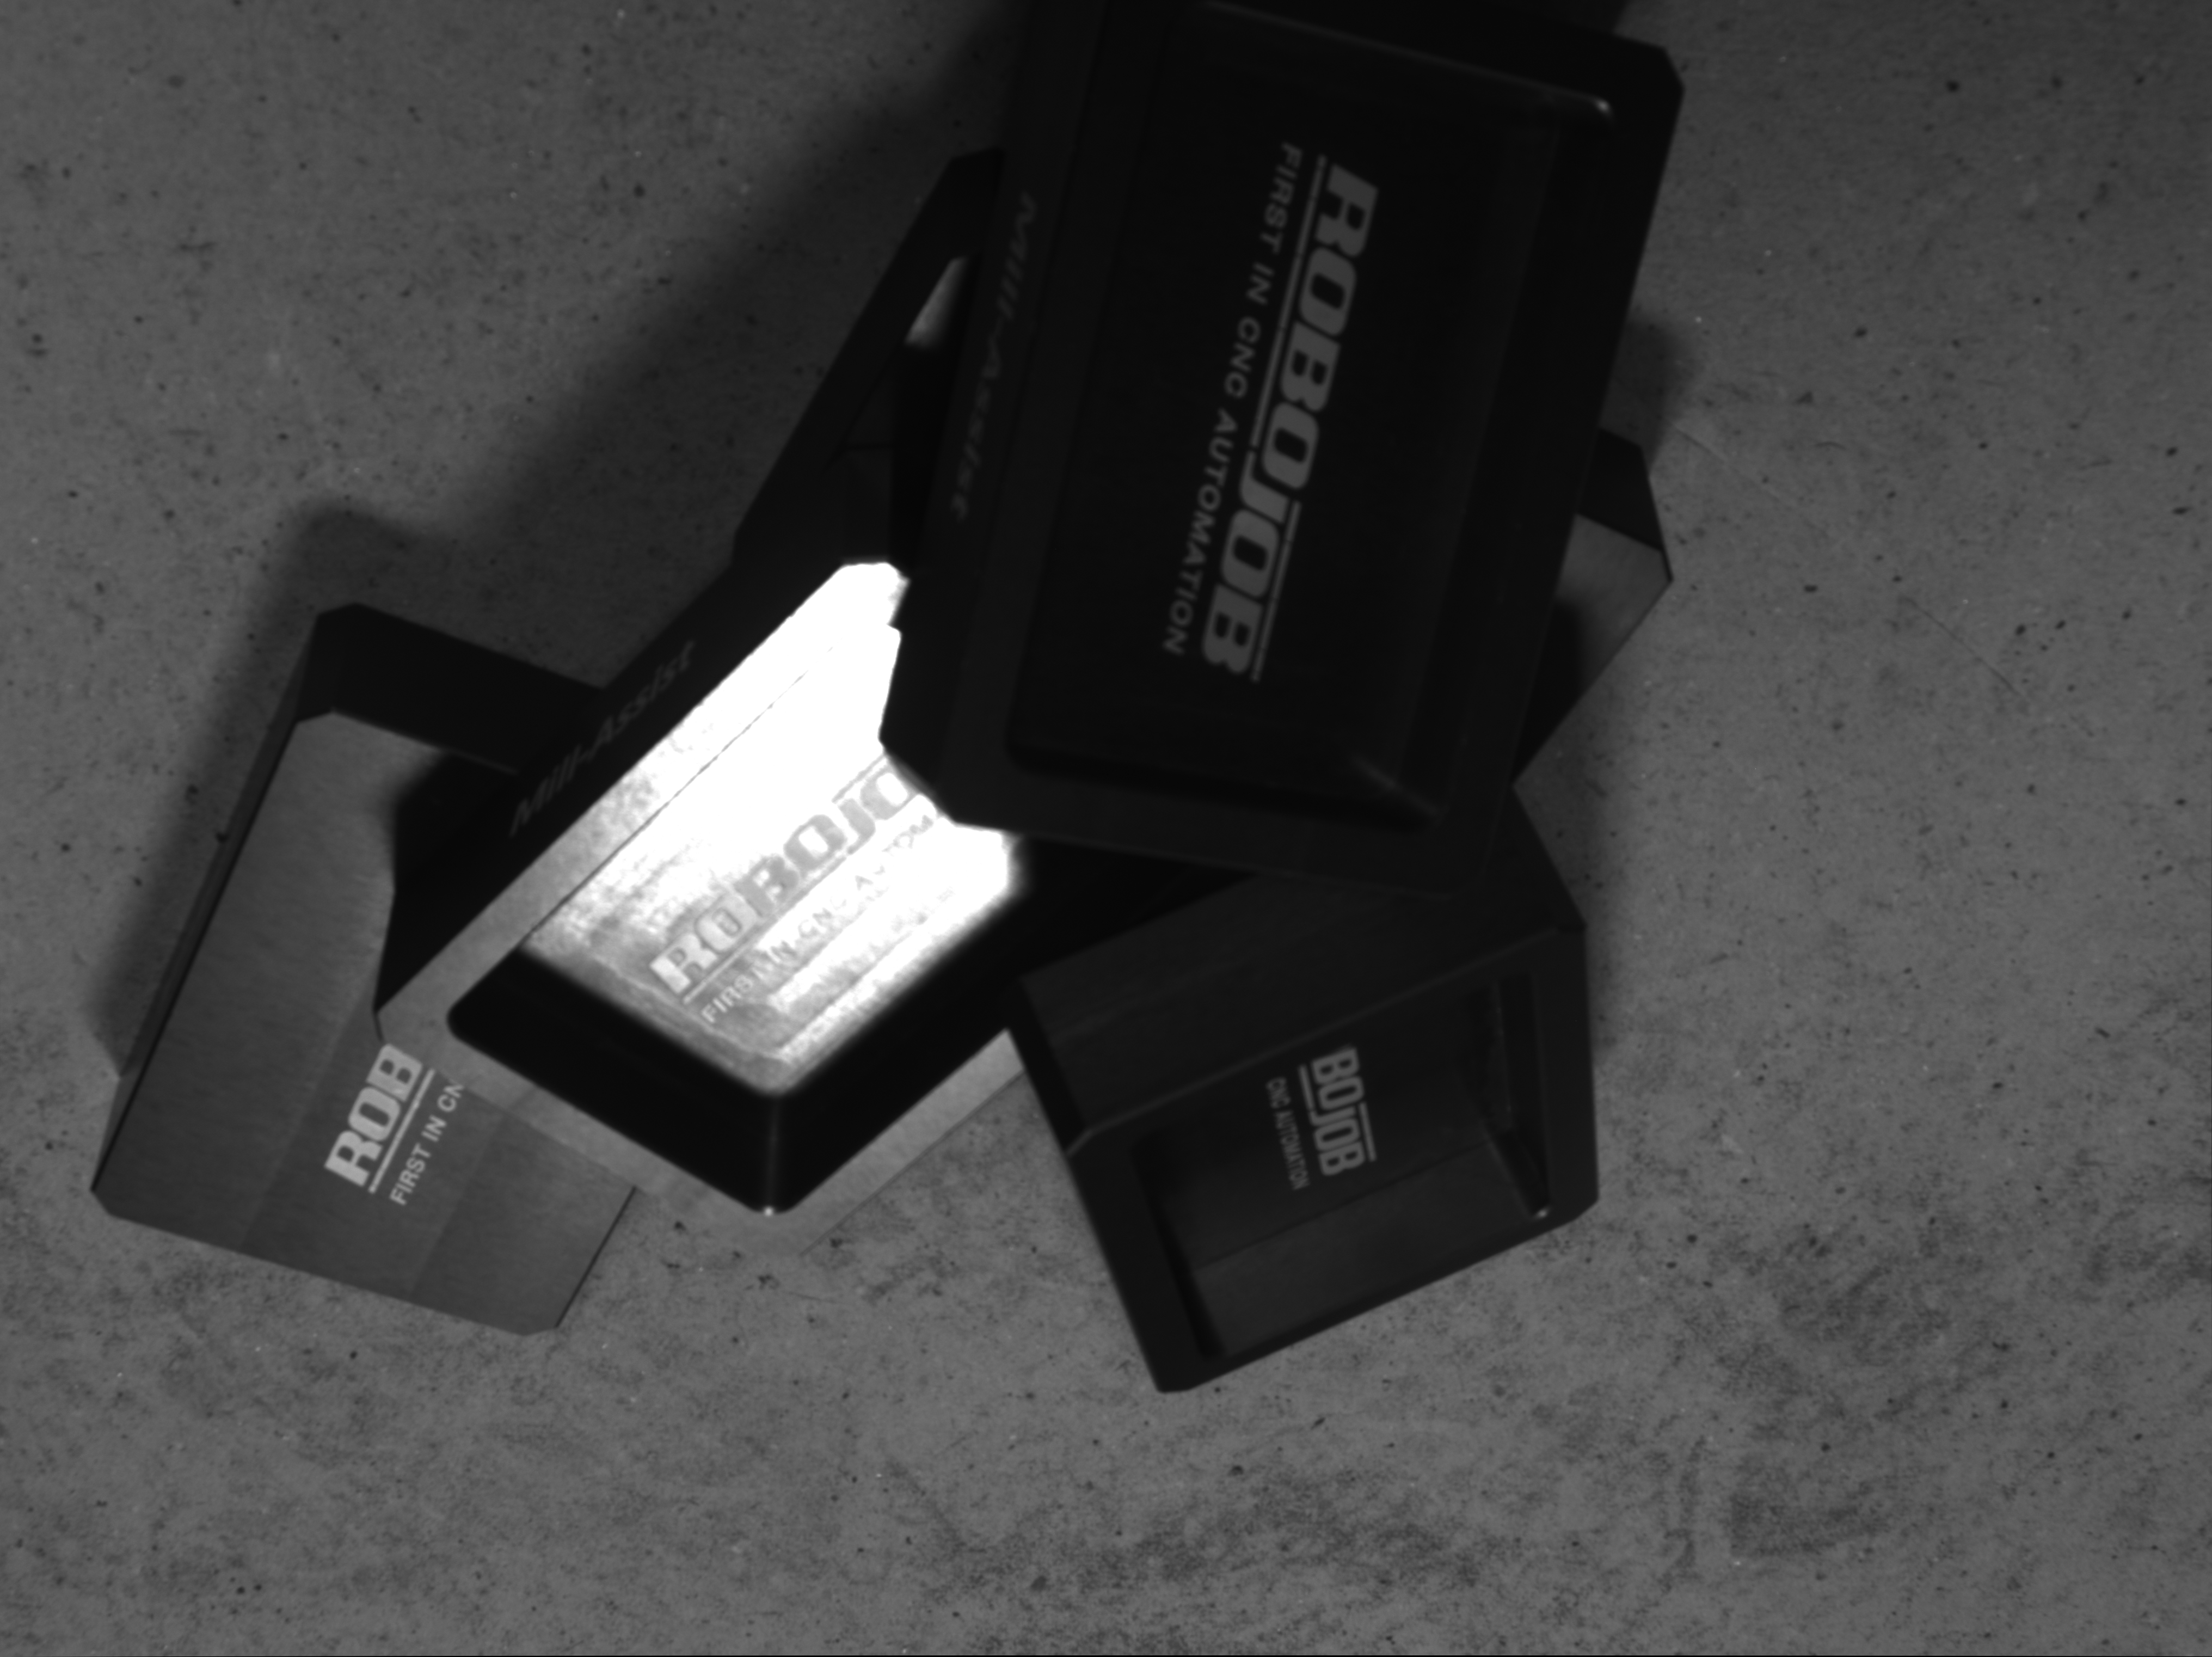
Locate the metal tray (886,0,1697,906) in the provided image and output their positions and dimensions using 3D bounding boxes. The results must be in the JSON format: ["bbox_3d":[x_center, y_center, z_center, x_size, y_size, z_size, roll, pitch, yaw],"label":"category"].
[{"bbox_3d":[0.027,-0.060,0.541,0.090,0.030,0.130,9,102,-22],"label":"metal tray"}]

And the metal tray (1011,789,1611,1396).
[{"bbox_3d":[0.040,0.049,0.633,0.090,0.030,0.130,-23,153,-3],"label":"metal tray"}]

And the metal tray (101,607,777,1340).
[{"bbox_3d":[-0.116,0.030,0.655,0.090,0.030,0.130,19,127,-17],"label":"metal tray"}]

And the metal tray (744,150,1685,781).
[{"bbox_3d":[0.016,-0.044,0.599,0.130,0.030,0.090,22,126,-19],"label":"metal tray"}]

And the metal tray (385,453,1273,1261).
[{"bbox_3d":[-0.045,0.009,0.602,0.090,0.030,0.130,34,121,-27],"label":"metal tray"}]
